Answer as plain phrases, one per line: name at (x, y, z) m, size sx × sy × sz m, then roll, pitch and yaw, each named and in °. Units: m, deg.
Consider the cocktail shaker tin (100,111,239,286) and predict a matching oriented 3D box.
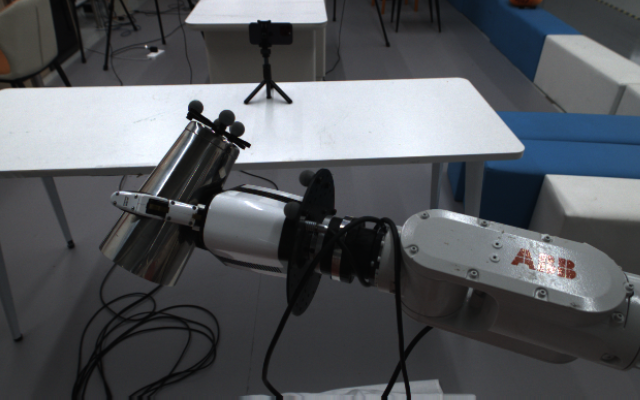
cocktail shaker tin at (-0.162, -0.002, 0.550) m, size 0.093 × 0.093 × 0.170 m, roll 26°, pitch 83°, yaw 31°
